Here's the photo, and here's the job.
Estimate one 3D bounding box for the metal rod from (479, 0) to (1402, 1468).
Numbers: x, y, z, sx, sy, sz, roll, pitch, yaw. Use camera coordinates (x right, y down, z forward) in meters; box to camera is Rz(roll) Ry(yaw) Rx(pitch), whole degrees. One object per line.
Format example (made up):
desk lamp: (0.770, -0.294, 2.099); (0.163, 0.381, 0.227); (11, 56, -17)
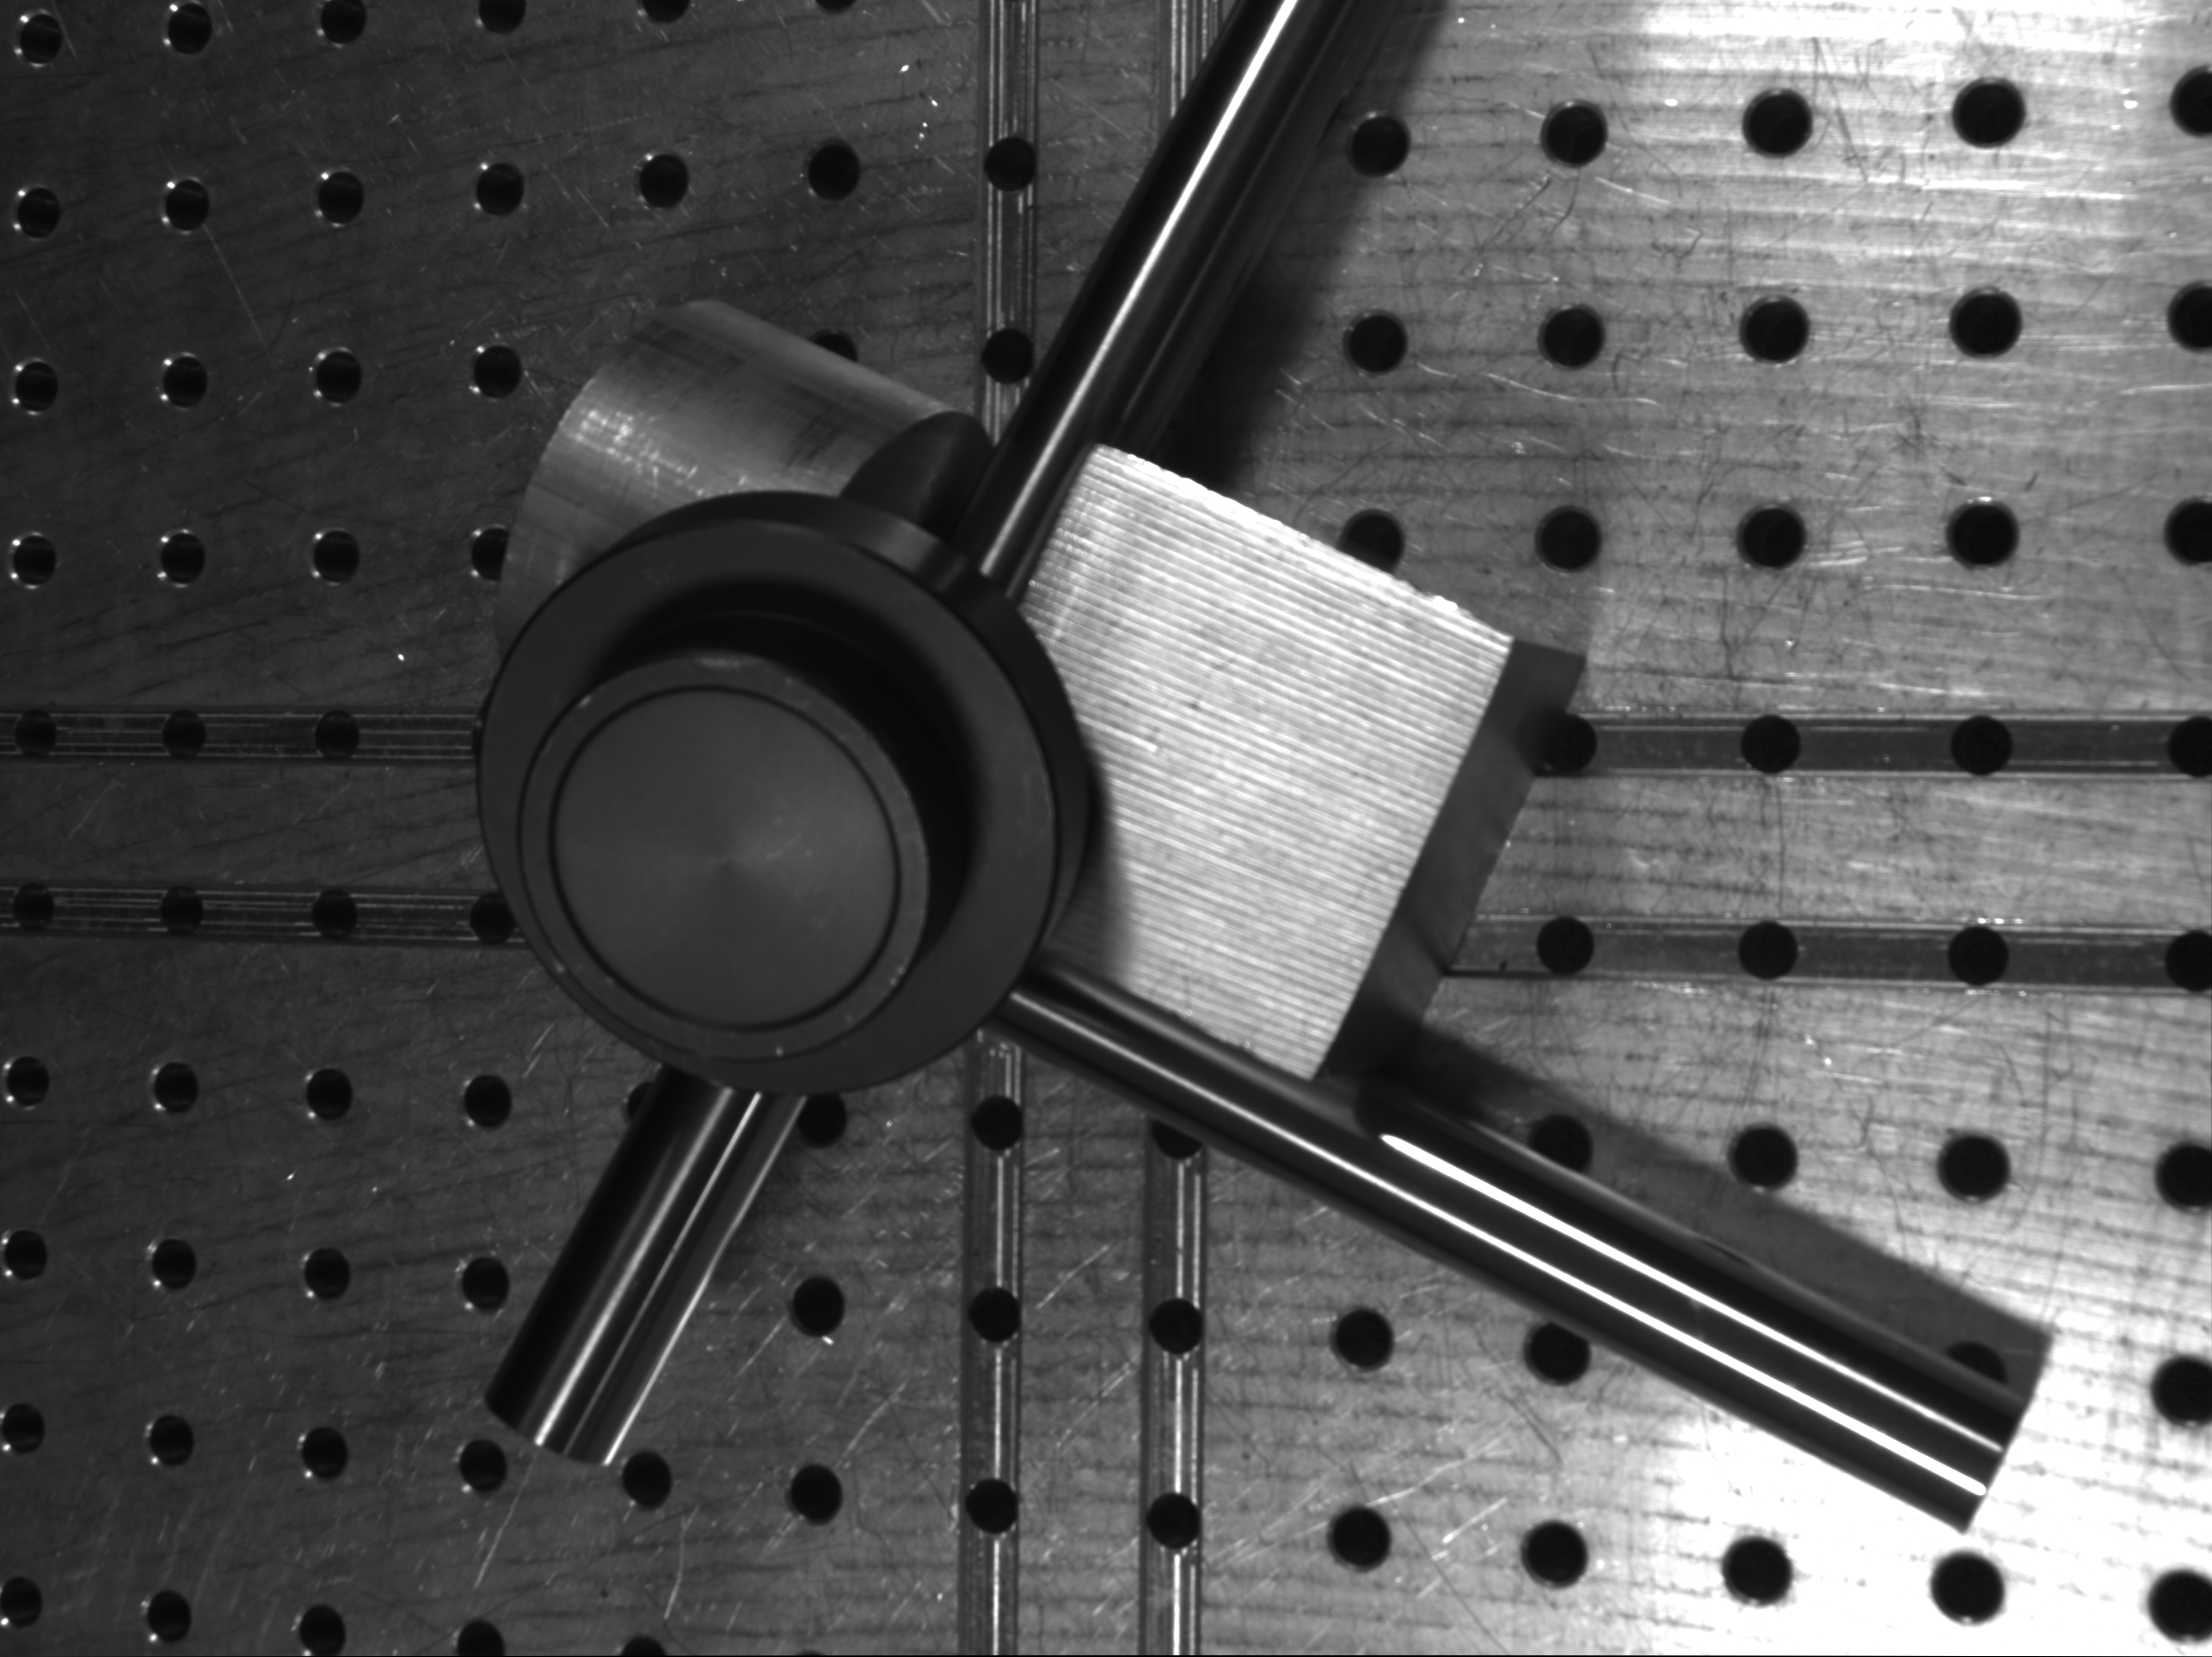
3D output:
metal rod: (-0.027, -0.026, 0.636); (0.025, 0.025, 0.300); (29, 92, 17)

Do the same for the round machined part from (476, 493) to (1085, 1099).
round machined part: (-0.055, -0.001, 0.588); (0.098, 0.042, 0.098); (4, 110, 11)

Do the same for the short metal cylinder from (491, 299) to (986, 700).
short metal cylinder: (-0.062, -0.046, 0.639); (0.050, 0.080, 0.080); (26, 98, 18)

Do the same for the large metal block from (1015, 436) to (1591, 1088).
large metal block: (0.024, -0.011, 0.621); (0.080, 0.050, 0.080); (27, 99, 18)

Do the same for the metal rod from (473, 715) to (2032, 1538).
metal rod: (0.017, 0.041, 0.640); (0.300, 0.025, 0.025); (26, 98, 18)
